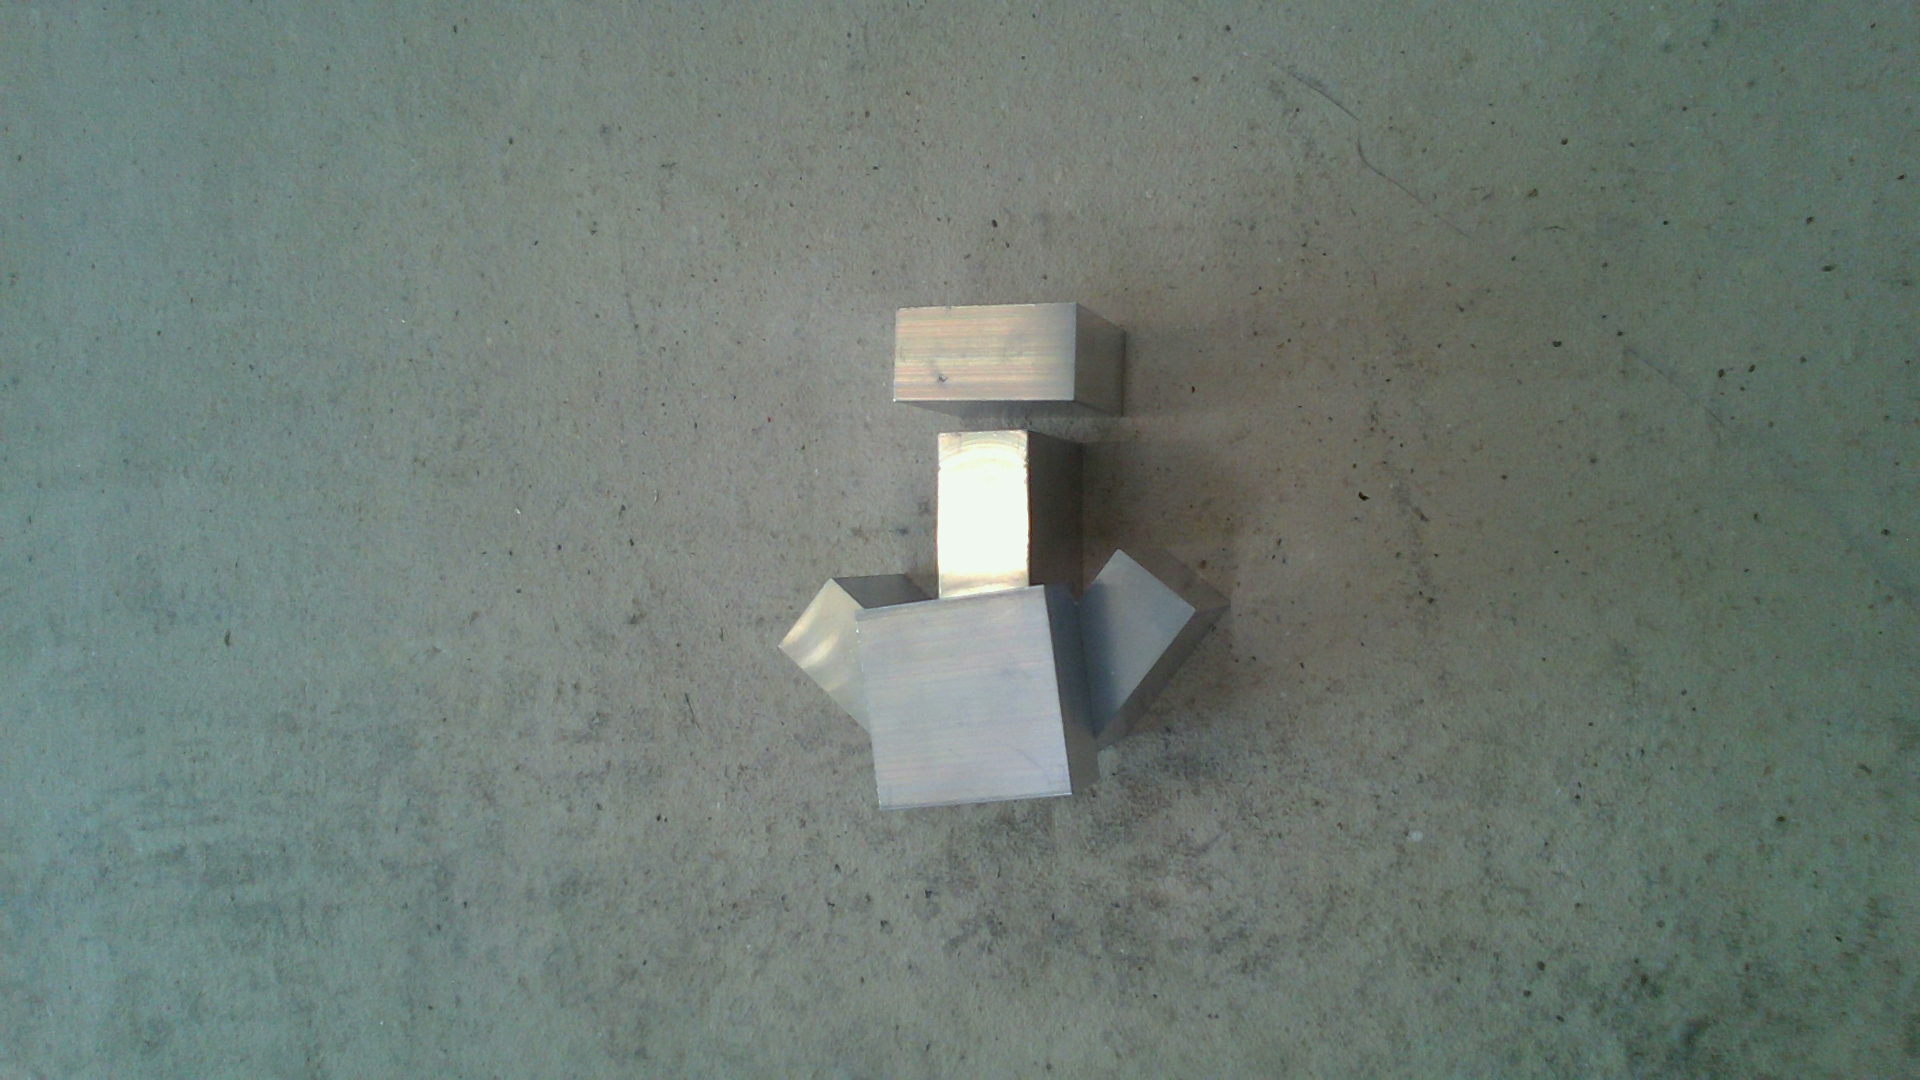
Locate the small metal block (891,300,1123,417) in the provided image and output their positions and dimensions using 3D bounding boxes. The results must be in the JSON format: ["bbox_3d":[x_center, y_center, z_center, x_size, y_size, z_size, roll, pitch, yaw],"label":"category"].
[{"bbox_3d":[0.014,-0.049,0.378,0.050,0.050,0.025,2,91,20],"label":"small metal block"}]

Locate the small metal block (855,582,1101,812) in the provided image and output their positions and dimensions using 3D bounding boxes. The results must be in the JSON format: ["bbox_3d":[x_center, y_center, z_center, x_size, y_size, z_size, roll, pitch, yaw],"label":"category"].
[{"bbox_3d":[0.005,0.039,0.342,0.050,0.025,0.050,-9,87,20],"label":"small metal block"}]

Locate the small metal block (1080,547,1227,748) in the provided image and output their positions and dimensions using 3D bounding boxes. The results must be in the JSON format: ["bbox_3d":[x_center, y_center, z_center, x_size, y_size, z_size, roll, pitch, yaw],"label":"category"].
[{"bbox_3d":[0.043,0.029,0.368,0.025,0.050,0.050,39,103,16],"label":"small metal block"}]

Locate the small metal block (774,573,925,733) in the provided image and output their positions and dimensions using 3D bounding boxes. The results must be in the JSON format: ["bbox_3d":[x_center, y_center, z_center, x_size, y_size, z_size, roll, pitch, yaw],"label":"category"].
[{"bbox_3d":[-0.017,0.036,0.388,0.050,0.050,0.025,41,103,14],"label":"small metal block"}]

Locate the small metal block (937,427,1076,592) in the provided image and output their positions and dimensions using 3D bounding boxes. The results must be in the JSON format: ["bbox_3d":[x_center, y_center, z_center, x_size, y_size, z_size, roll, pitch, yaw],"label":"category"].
[{"bbox_3d":[0.014,-0.003,0.379,0.025,0.050,0.050,-1,89,19],"label":"small metal block"}]
